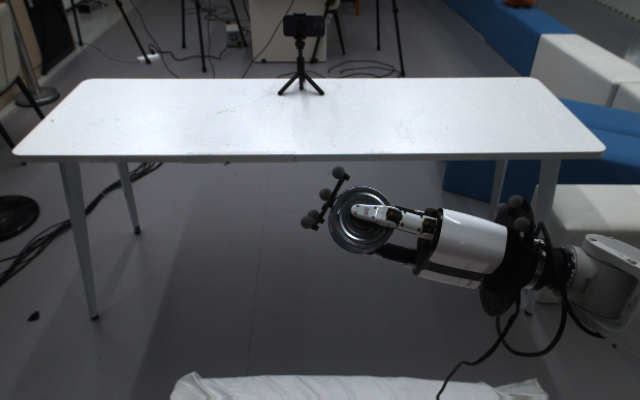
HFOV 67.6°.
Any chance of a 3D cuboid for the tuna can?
[{"bbox_3d":[0.057,0.025,0.632,0.085,0.034,0.085,1,75,-5],"label":"tuna can"}]
